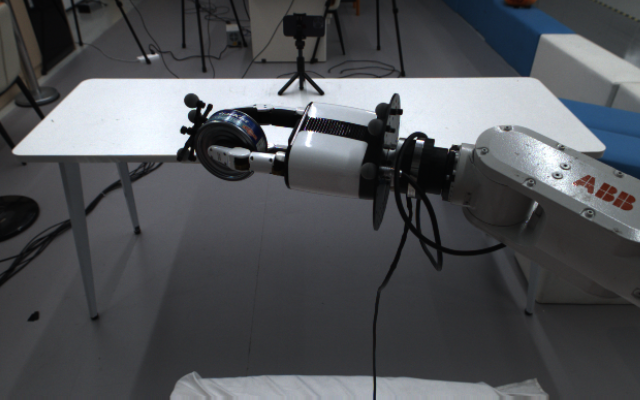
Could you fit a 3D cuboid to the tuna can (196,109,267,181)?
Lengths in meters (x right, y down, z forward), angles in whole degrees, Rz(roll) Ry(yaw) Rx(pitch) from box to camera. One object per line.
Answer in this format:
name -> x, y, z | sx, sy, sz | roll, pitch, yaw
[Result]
tuna can -> -0.107, -0.062, 0.596 | 0.085, 0.085, 0.034 | 9, 36, 10
